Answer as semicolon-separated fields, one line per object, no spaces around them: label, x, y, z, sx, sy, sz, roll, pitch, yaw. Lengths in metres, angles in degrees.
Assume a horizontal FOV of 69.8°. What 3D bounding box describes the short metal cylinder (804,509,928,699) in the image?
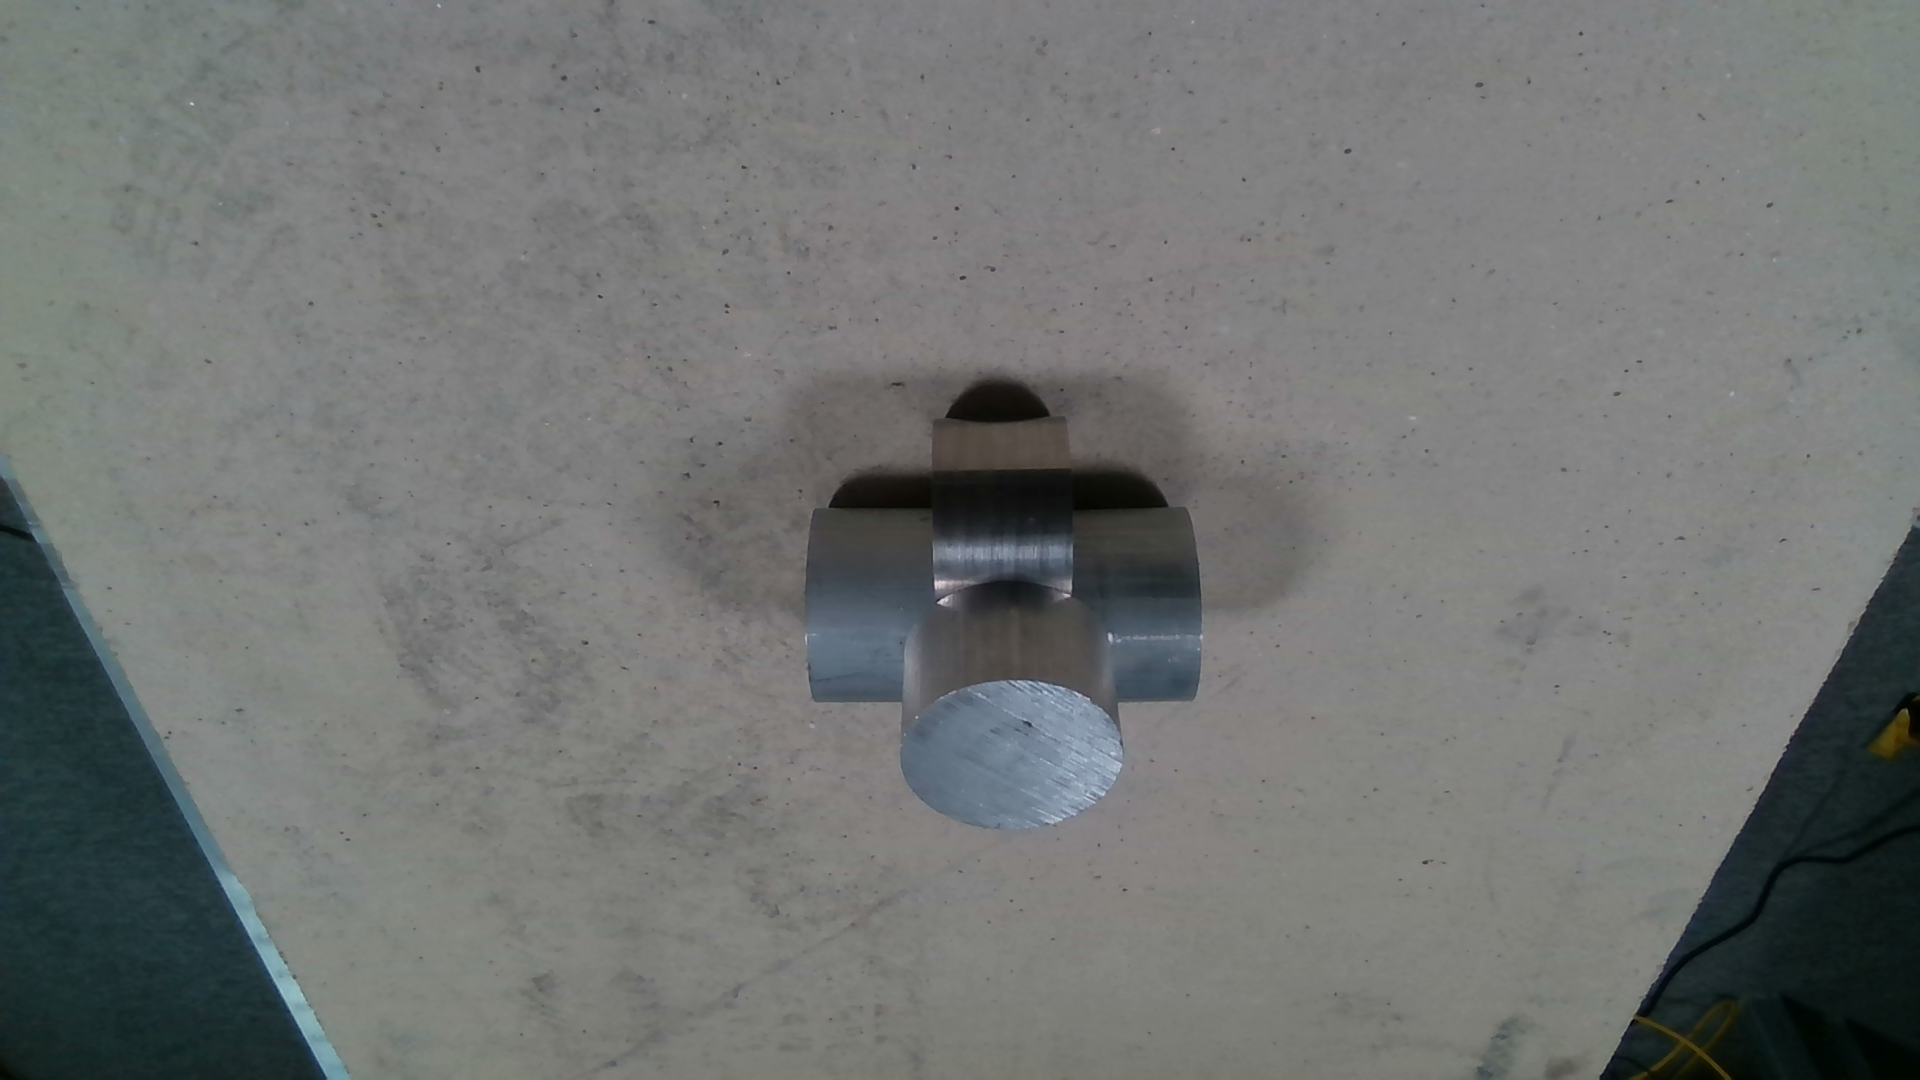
short metal cylinder;-0.034;0.026;0.565;0.050;0.080;0.080;0;130;0

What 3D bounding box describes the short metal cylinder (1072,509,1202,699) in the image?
short metal cylinder;0.068;0.026;0.566;0.050;0.080;0.080;-1;130;1

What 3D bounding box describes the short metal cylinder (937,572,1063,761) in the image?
short metal cylinder;0.016;0.054;0.589;0.050;0.080;0.080;0;130;0

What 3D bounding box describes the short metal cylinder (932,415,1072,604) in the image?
short metal cylinder;0.016;-0.008;0.537;0.050;0.080;0.080;-1;130;1

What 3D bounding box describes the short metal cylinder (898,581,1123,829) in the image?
short metal cylinder;0.018;0.062;0.510;0.080;0.050;0.080;0;130;0
